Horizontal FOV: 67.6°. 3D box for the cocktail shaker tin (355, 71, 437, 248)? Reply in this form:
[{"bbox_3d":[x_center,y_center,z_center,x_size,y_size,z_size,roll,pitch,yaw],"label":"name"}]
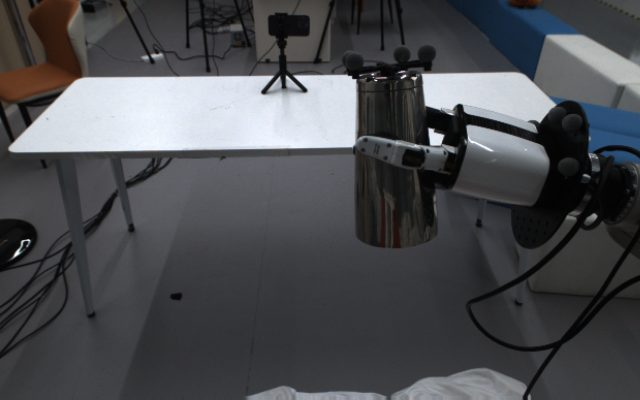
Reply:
[{"bbox_3d":[0.079,-0.045,0.514,0.093,0.170,0.093,-6,19,2],"label":"cocktail shaker tin"}]
